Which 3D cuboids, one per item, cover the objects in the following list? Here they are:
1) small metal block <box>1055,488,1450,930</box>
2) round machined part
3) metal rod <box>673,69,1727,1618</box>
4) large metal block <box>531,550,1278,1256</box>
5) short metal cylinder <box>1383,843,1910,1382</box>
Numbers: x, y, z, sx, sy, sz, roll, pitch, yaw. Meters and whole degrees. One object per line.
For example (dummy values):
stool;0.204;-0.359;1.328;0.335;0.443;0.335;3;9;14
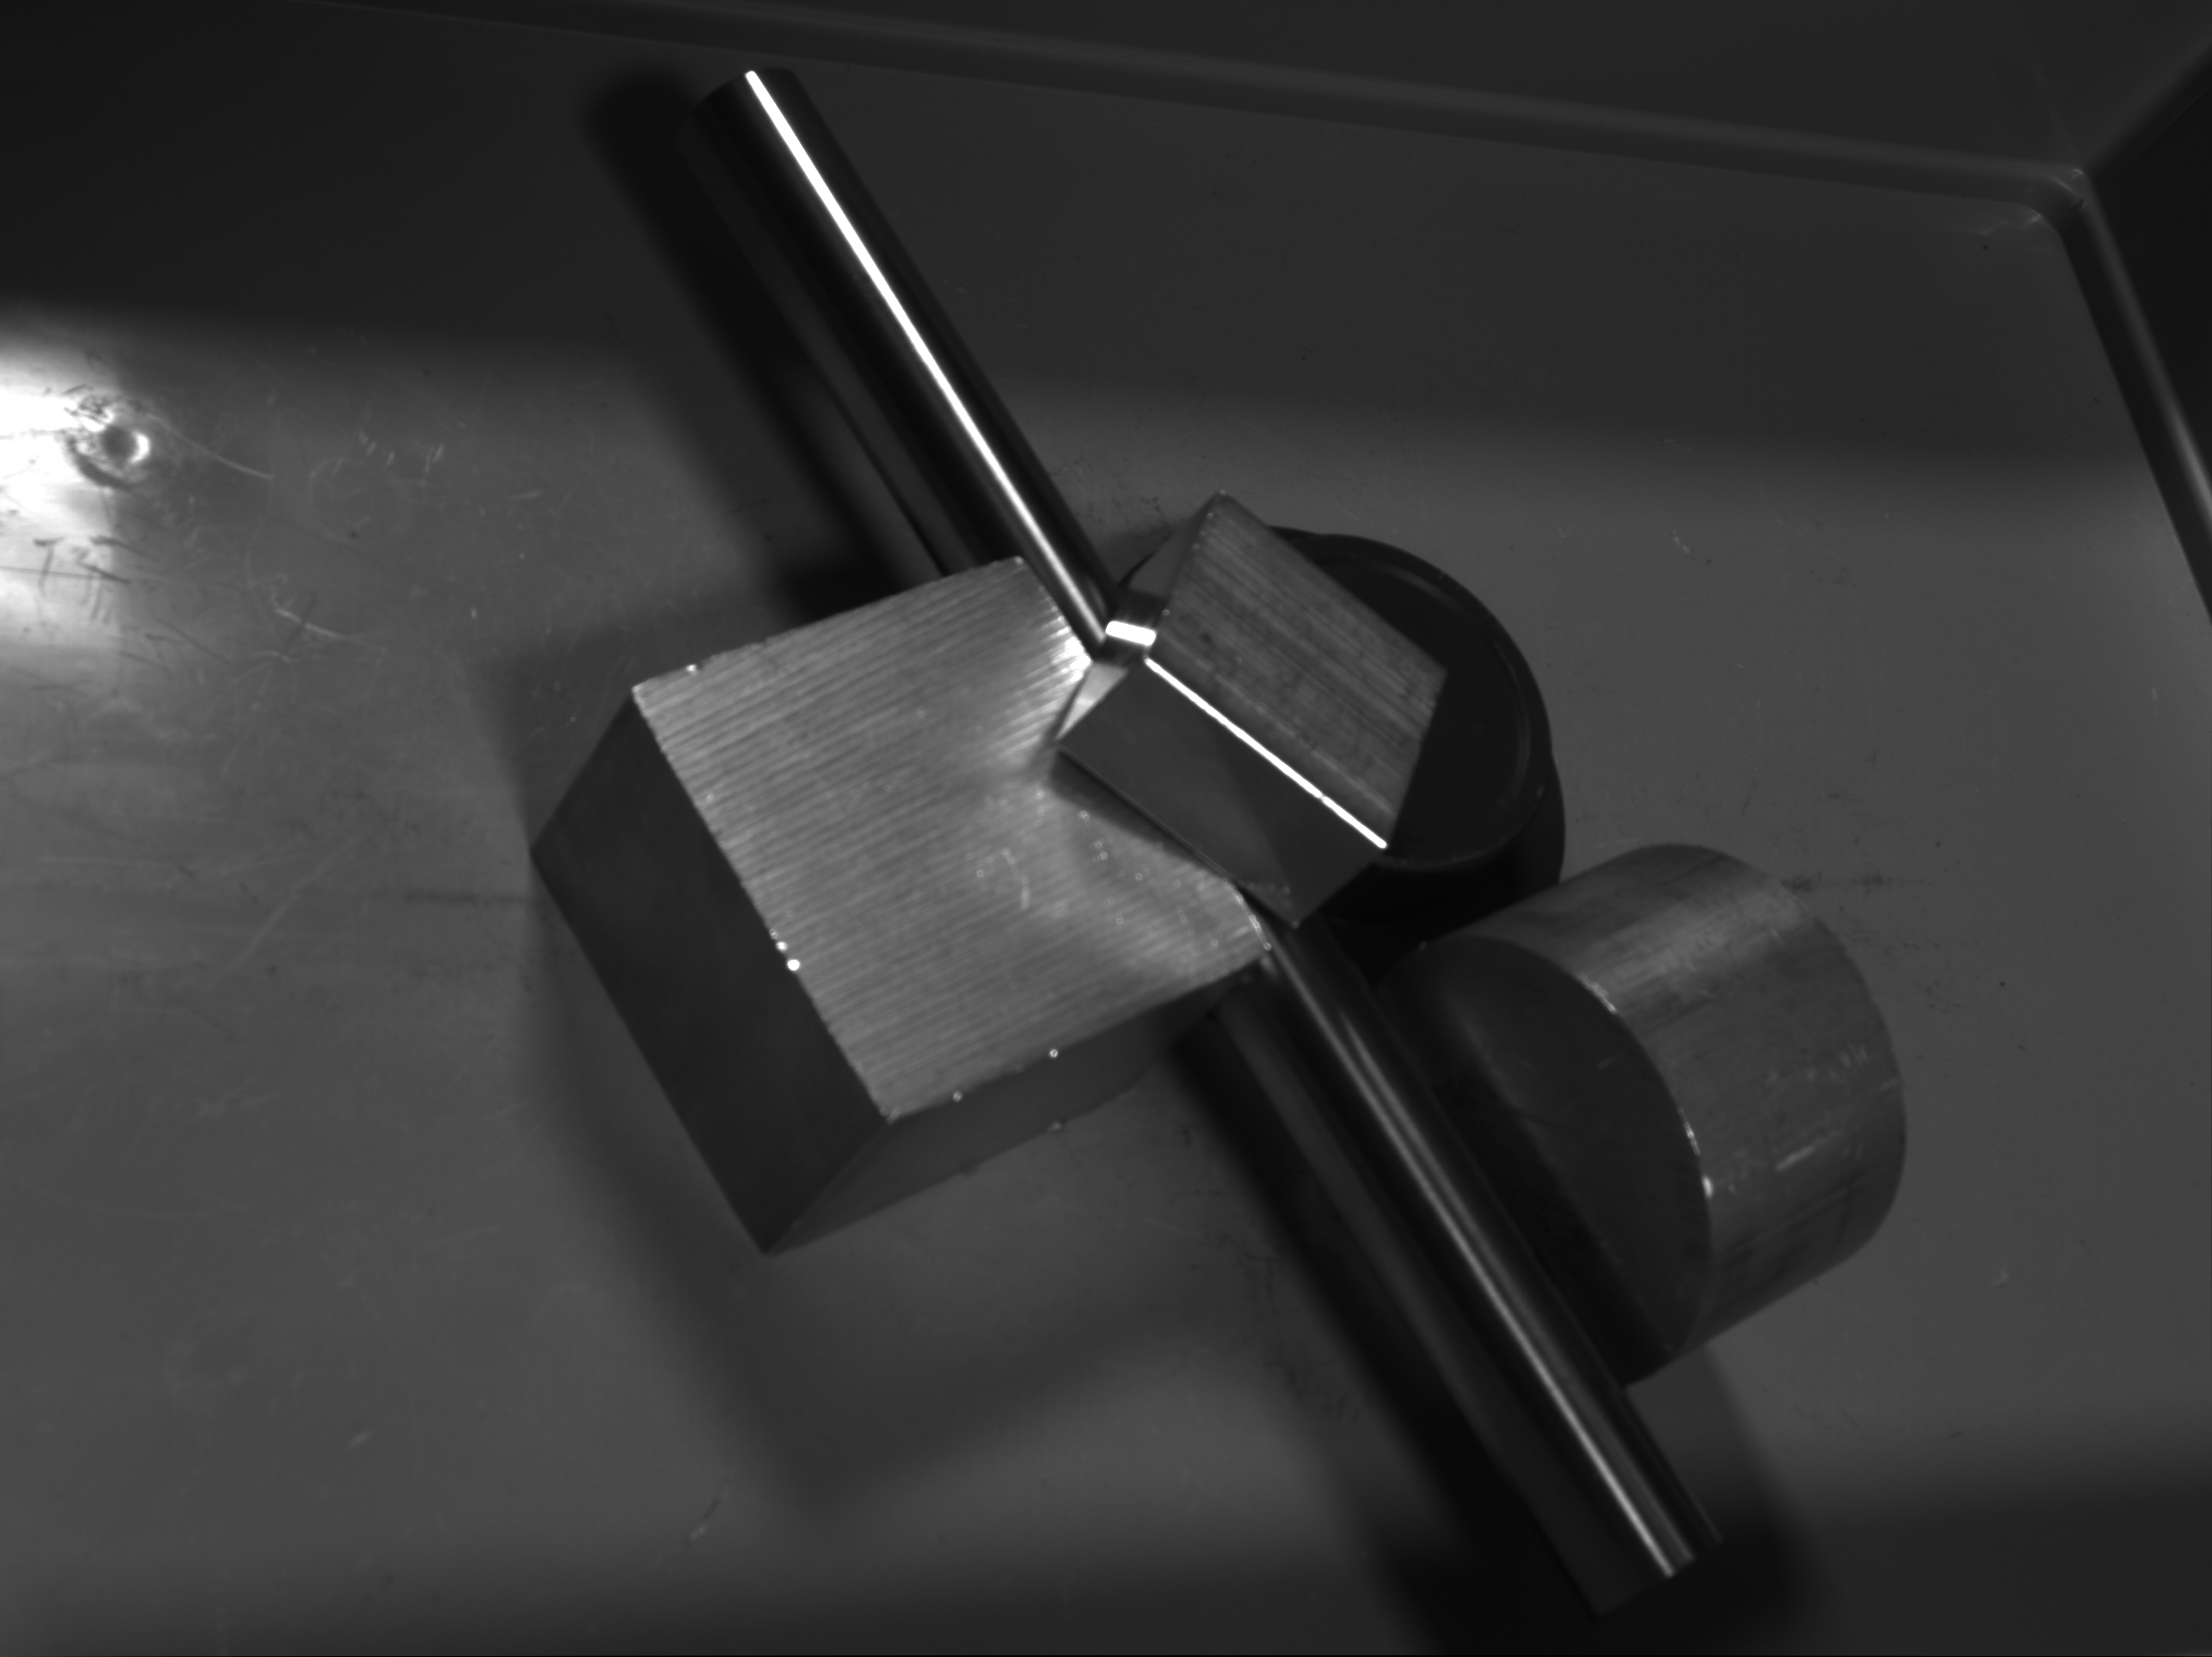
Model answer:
small metal block;0.025;-0.020;0.602;0.050;0.025;0.050;38;39;-12
round machined part;0.041;-0.014;0.657;0.098;0.042;0.098;14;56;-21
metal rod;0.011;-0.004;0.620;0.025;0.025;0.300;-22;74;-36
large metal block;-0.033;0.011;0.595;0.080;0.050;0.080;-22;74;-36
short metal cylinder;0.088;0.048;0.621;0.050;0.080;0.080;-22;74;-36
